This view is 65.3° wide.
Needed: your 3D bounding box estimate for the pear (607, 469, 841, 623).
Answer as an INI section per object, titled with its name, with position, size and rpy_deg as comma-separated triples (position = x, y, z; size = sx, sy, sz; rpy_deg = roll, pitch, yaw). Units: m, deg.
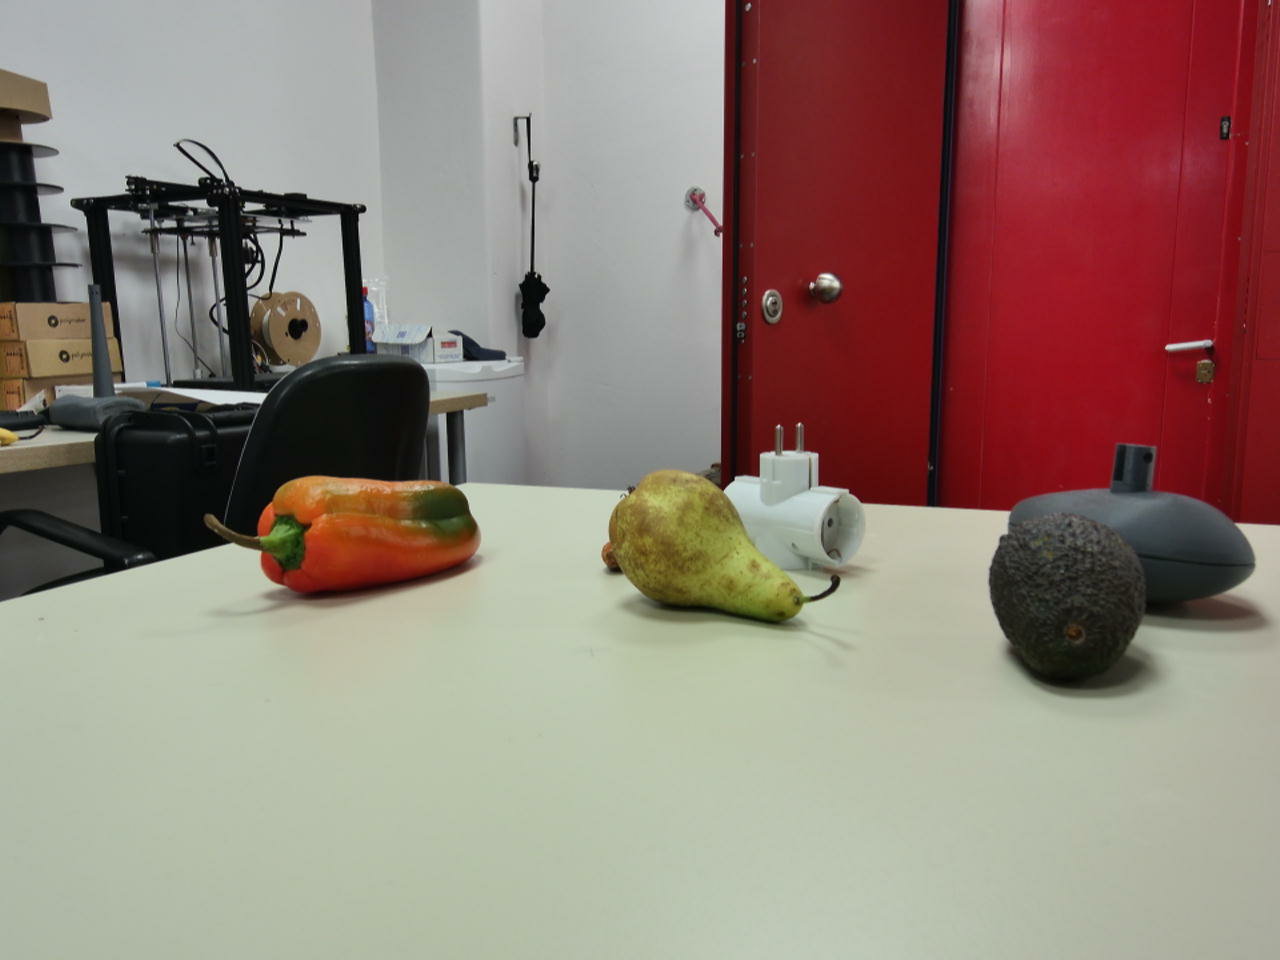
[pear]
position = 0.050, 0.033, 0.536
size = 0.144, 0.075, 0.071
rpy_deg = 3, 7, 31
